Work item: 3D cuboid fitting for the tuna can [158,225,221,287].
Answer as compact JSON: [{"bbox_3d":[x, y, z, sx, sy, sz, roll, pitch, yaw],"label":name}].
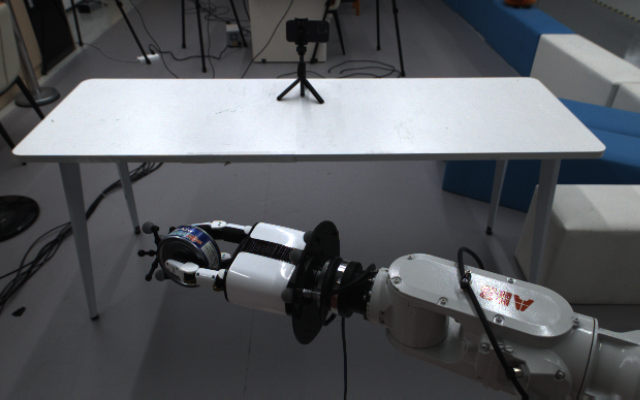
[{"bbox_3d":[-0.181,0.082,0.674,0.085,0.085,0.034,12,29,14],"label":"tuna can"}]
